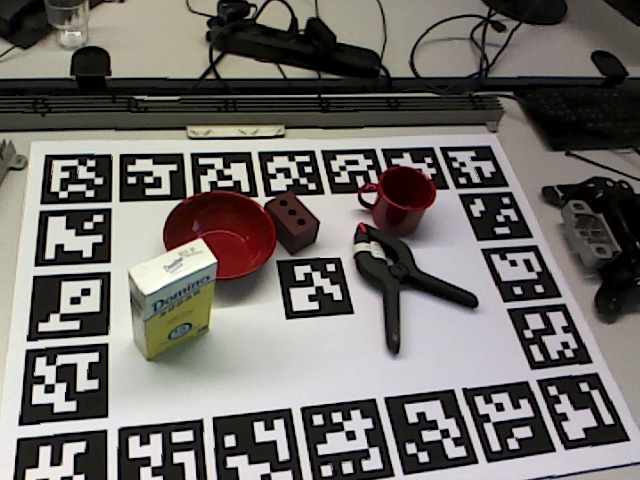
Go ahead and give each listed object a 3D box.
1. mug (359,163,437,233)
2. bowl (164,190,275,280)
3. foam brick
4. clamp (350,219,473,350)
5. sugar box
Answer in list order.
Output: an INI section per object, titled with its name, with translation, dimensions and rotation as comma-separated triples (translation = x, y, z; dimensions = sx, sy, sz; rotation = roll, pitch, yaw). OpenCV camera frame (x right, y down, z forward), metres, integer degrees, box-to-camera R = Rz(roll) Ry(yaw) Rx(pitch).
[mug]
translation = 0.119, -0.069, 1.004
dimensions = 0.117, 0.081, 0.093
rotation = 19, 53, -1
[bowl]
translation = -0.149, 0.003, 0.919
dimensions = 0.161, 0.055, 0.162
rotation = 6, 53, -8
[foam brick]
translation = -0.043, -0.023, 0.968
dimensions = 0.052, 0.051, 0.078
rotation = -30, 66, -27
[clamp]
translation = 0.110, 0.049, 0.940
dimensions = 0.165, 0.036, 0.204
rotation = -26, 64, -24
[sugar box]
translation = -0.185, 0.082, 0.780
dimensions = 0.092, 0.176, 0.045
rotation = -27, 66, -28
